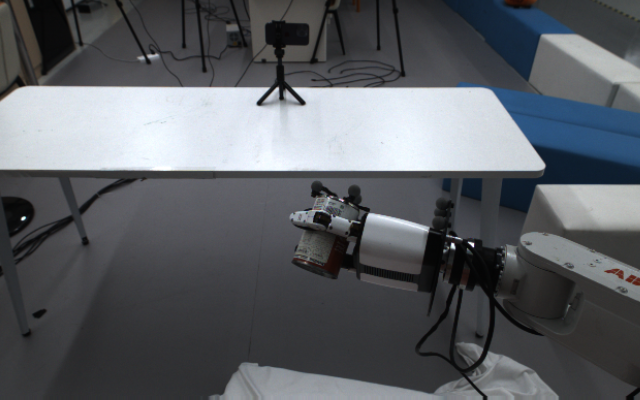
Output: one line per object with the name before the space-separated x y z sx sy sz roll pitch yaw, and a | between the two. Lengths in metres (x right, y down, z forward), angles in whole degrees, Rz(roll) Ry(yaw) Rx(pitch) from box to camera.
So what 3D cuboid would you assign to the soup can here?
soup can | 0.010 0.052 0.677 0.067 0.067 0.101 16 75 19
